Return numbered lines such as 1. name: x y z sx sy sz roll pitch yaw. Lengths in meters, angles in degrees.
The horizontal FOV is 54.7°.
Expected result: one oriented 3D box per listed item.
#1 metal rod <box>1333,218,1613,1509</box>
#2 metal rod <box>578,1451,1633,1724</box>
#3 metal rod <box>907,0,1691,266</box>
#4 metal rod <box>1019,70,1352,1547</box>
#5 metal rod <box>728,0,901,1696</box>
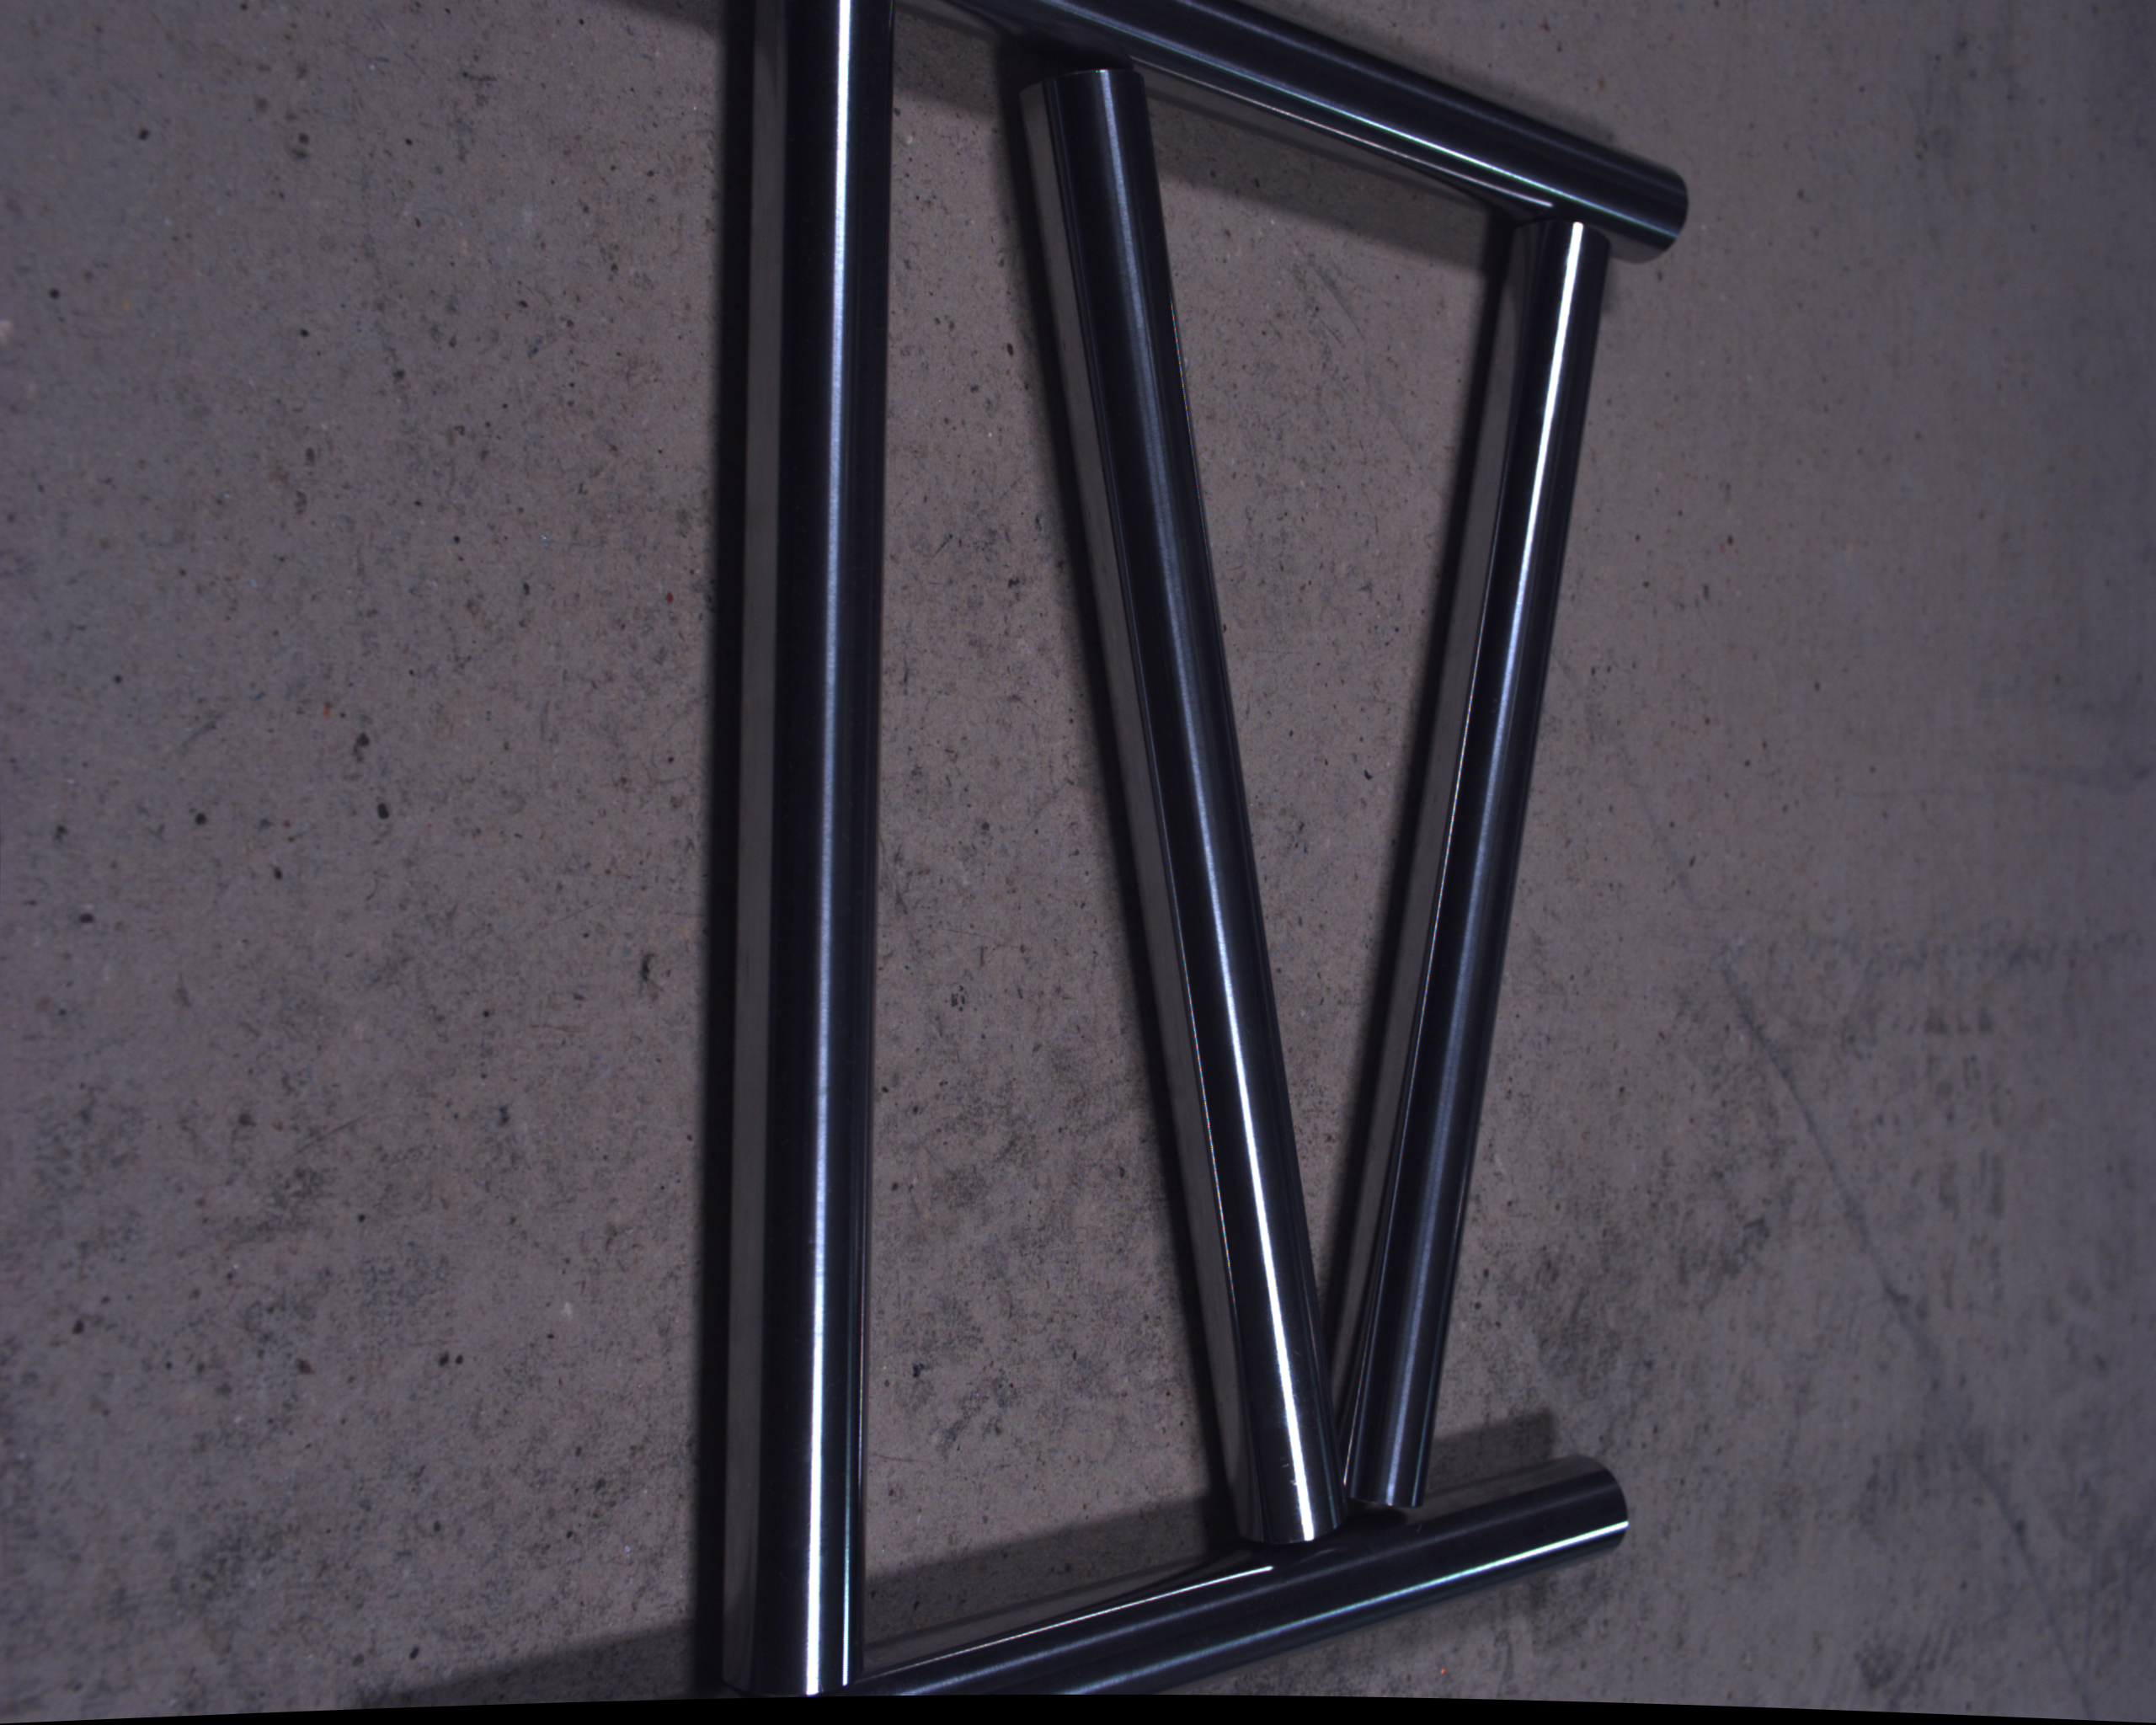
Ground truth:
1. metal rod: 0.091 -0.005 0.484 0.025 0.025 0.299 17 79 -39
2. metal rod: 0.011 0.156 0.417 0.302 0.025 0.025 1 89 -40
3. metal rod: 0.030 -0.167 0.433 0.302 0.025 0.025 1 89 -40
4. metal rod: 0.024 -0.005 0.427 0.025 0.025 0.298 -15 100 -39
5. metal rod: -0.046 -0.008 0.368 0.025 0.025 0.298 2 89 -40
